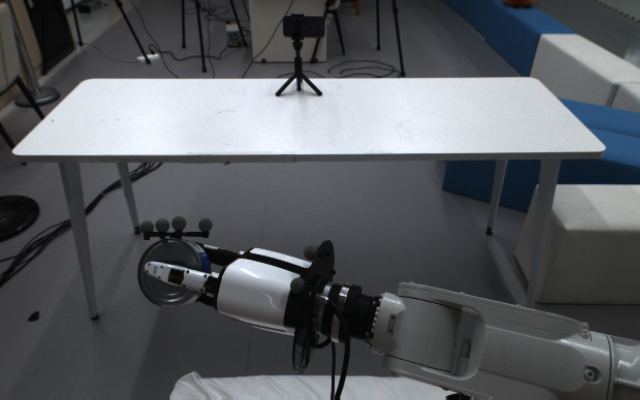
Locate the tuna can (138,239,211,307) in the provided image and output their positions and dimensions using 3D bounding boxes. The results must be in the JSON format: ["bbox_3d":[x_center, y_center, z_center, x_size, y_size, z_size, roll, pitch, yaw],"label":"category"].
[{"bbox_3d":[-0.177,0.094,0.614,0.085,0.085,0.034,10,-6,11],"label":"tuna can"}]
